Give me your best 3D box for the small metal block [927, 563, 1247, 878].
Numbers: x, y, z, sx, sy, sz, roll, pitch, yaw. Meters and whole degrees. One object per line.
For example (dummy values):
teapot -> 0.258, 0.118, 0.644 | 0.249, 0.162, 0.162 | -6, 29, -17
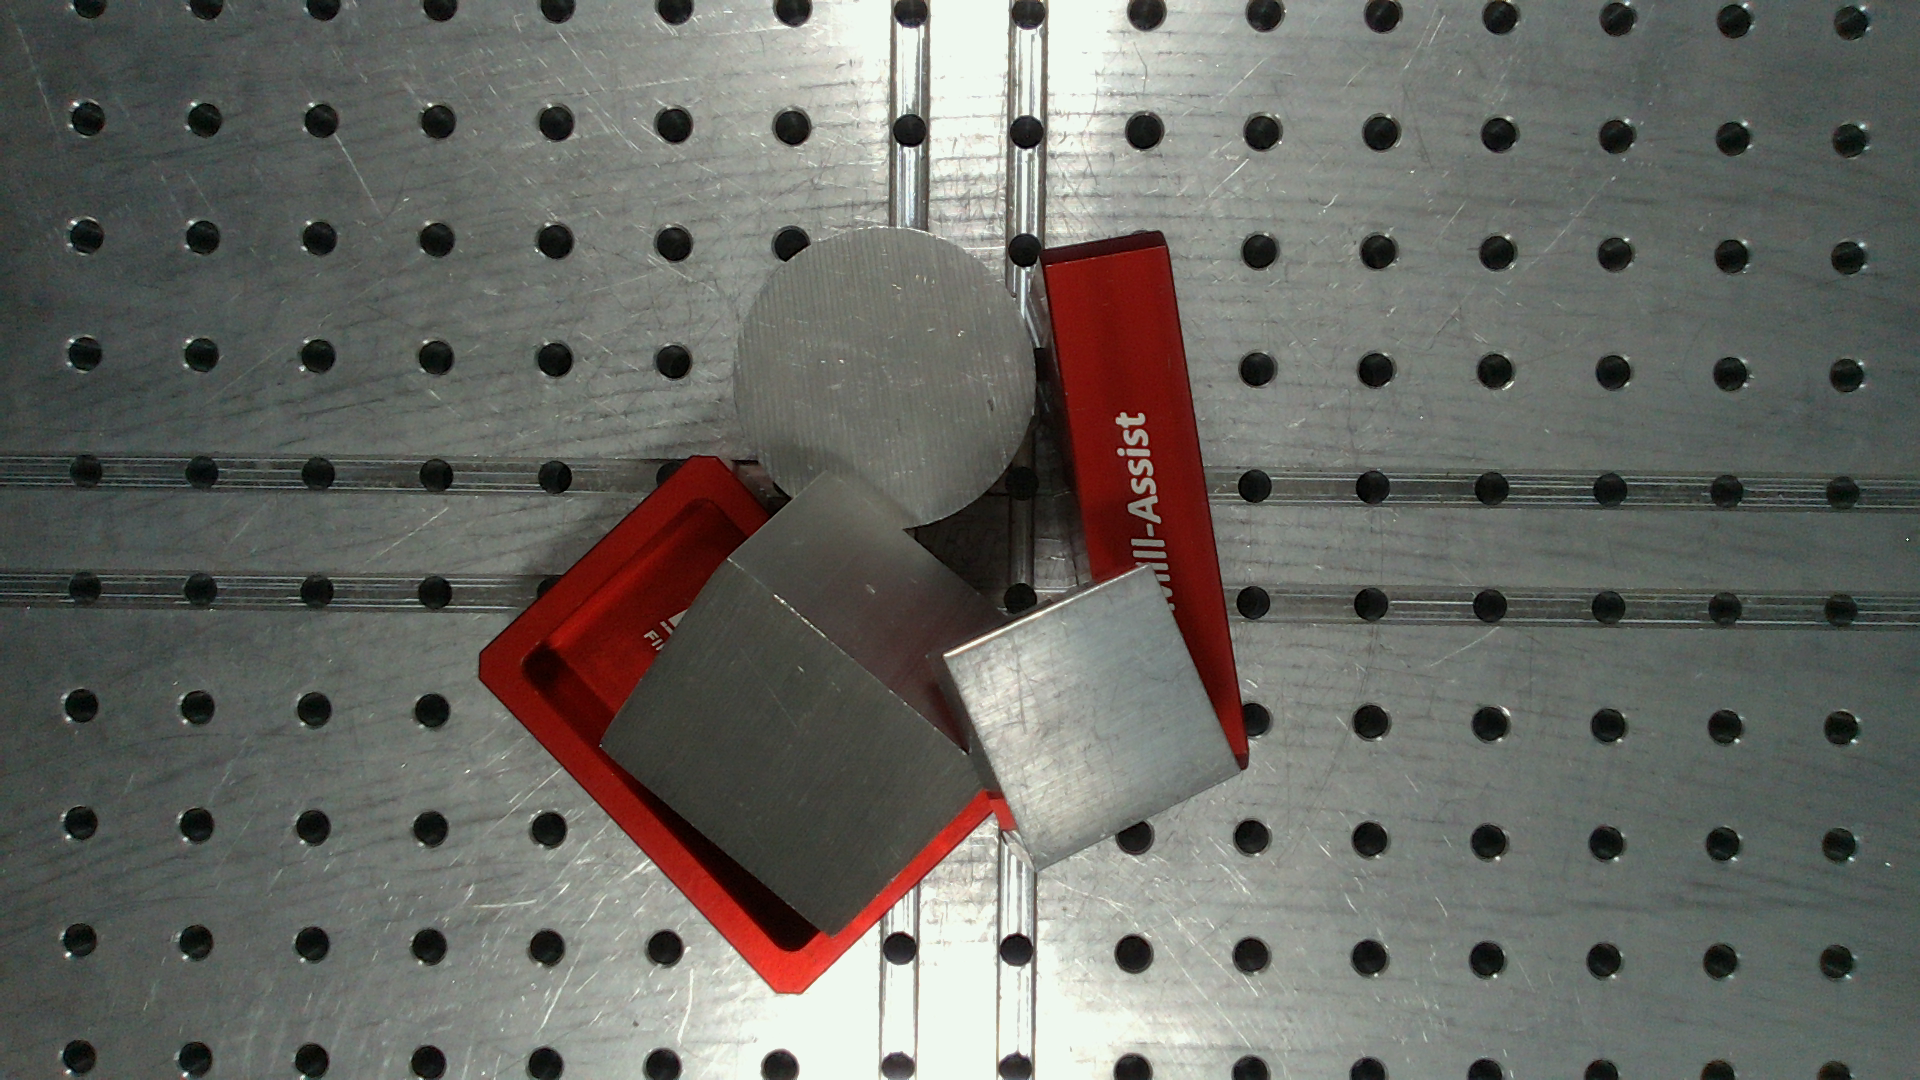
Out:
small metal block -> 0.027, 0.039, 0.304 | 0.050, 0.025, 0.050 | -24, 91, -11

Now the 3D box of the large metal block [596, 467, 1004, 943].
large metal block -> -0.034, 0.043, 0.354 | 0.080, 0.050, 0.080 | 39, 126, 0

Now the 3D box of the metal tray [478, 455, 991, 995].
metal tray -> -0.059, 0.051, 0.394 | 0.090, 0.030, 0.130 | -43, 90, 0

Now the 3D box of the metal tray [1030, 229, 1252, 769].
metal tray -> 0.044, -0.007, 0.365 | 0.030, 0.090, 0.130 | -9, 90, 0

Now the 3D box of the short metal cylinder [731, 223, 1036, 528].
short metal cylinder -> -0.020, -0.043, 0.385 | 0.080, 0.050, 0.080 | 0, 90, 0
